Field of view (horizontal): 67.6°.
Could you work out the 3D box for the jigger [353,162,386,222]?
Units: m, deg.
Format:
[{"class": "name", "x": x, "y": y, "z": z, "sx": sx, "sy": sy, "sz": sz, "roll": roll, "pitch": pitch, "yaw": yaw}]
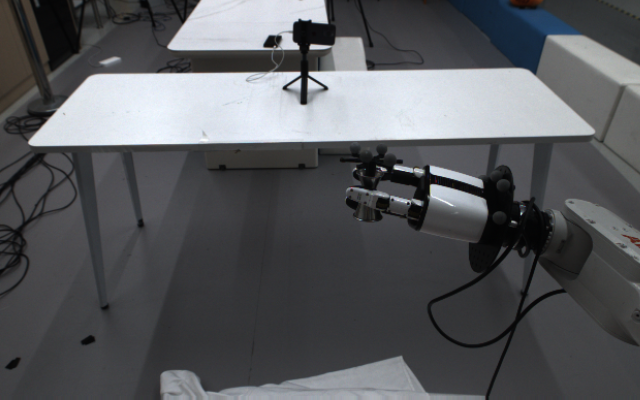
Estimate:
[{"class": "jigger", "x": 0.071, "y": -0.009, "z": 0.705, "sx": 0.043, "sy": 0.071, "sz": 0.043, "roll": 1, "pitch": 20, "yaw": 0}]
